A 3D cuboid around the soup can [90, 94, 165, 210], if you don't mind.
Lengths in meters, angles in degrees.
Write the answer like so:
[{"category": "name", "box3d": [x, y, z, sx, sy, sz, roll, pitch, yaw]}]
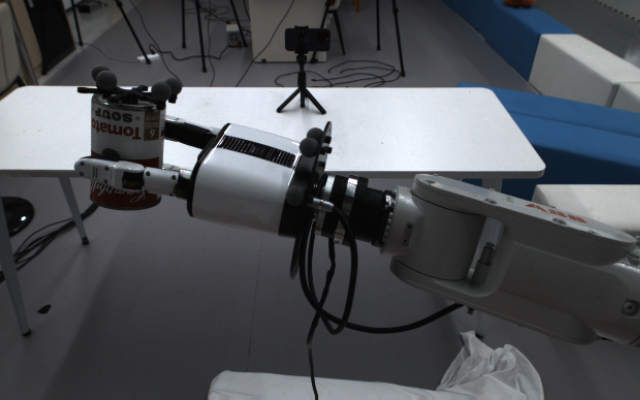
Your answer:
[{"category": "soup can", "box3d": [-0.187, -0.048, 0.477, 0.067, 0.101, 0.067, 9, 20, -3]}]
